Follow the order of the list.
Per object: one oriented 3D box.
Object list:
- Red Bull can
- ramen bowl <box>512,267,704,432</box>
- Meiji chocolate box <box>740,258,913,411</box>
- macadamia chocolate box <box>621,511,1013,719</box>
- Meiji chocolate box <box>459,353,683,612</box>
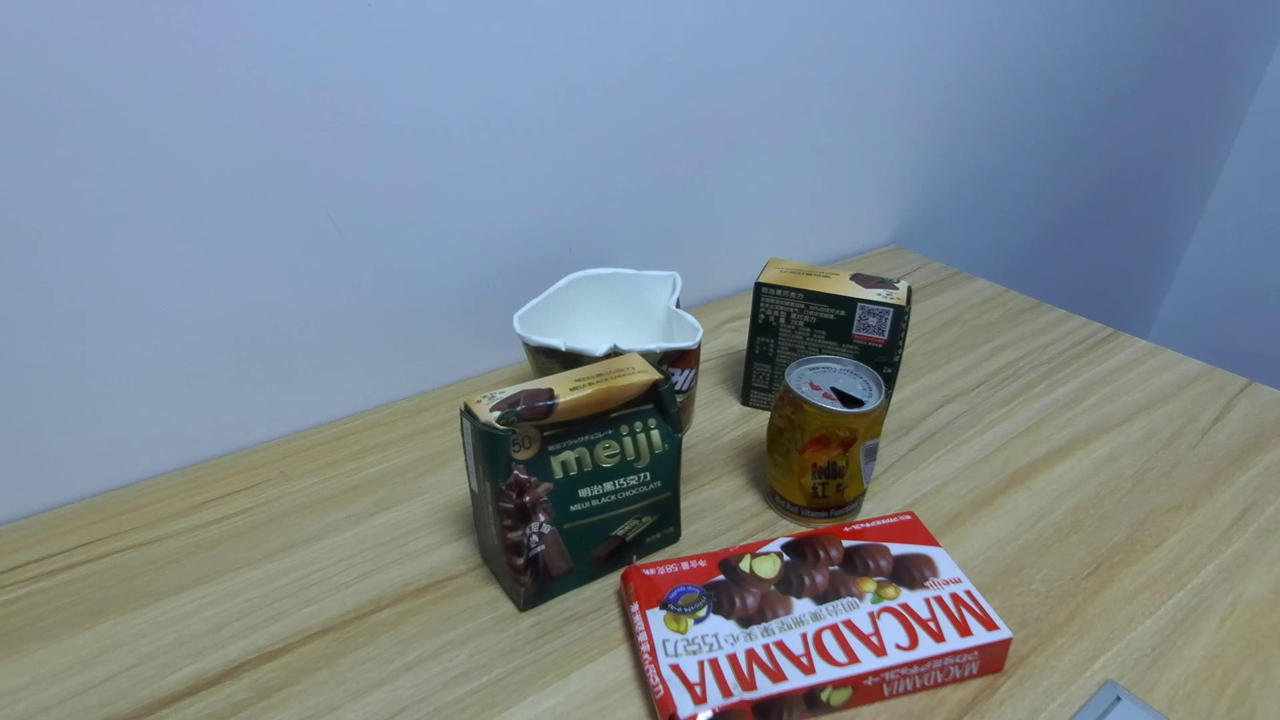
[{"bbox_3d":[0.115,0.051,0.444,0.072,0.092,0.072,2,32,-1],"label":"Red Bull can"},{"bbox_3d":[-0.023,0.001,0.516,0.134,0.097,0.113,-5,33,-13],"label":"ramen bowl"},{"bbox_3d":[0.141,-0.014,0.537,0.113,0.111,0.058,11,32,18],"label":"Meiji chocolate box"},{"bbox_3d":[0.087,0.134,0.372,0.183,0.028,0.105,-7,31,-12],"label":"macadamia chocolate box"},{"bbox_3d":[-0.034,0.064,0.404,0.118,0.117,0.051,-16,27,-27],"label":"Meiji chocolate box"}]
